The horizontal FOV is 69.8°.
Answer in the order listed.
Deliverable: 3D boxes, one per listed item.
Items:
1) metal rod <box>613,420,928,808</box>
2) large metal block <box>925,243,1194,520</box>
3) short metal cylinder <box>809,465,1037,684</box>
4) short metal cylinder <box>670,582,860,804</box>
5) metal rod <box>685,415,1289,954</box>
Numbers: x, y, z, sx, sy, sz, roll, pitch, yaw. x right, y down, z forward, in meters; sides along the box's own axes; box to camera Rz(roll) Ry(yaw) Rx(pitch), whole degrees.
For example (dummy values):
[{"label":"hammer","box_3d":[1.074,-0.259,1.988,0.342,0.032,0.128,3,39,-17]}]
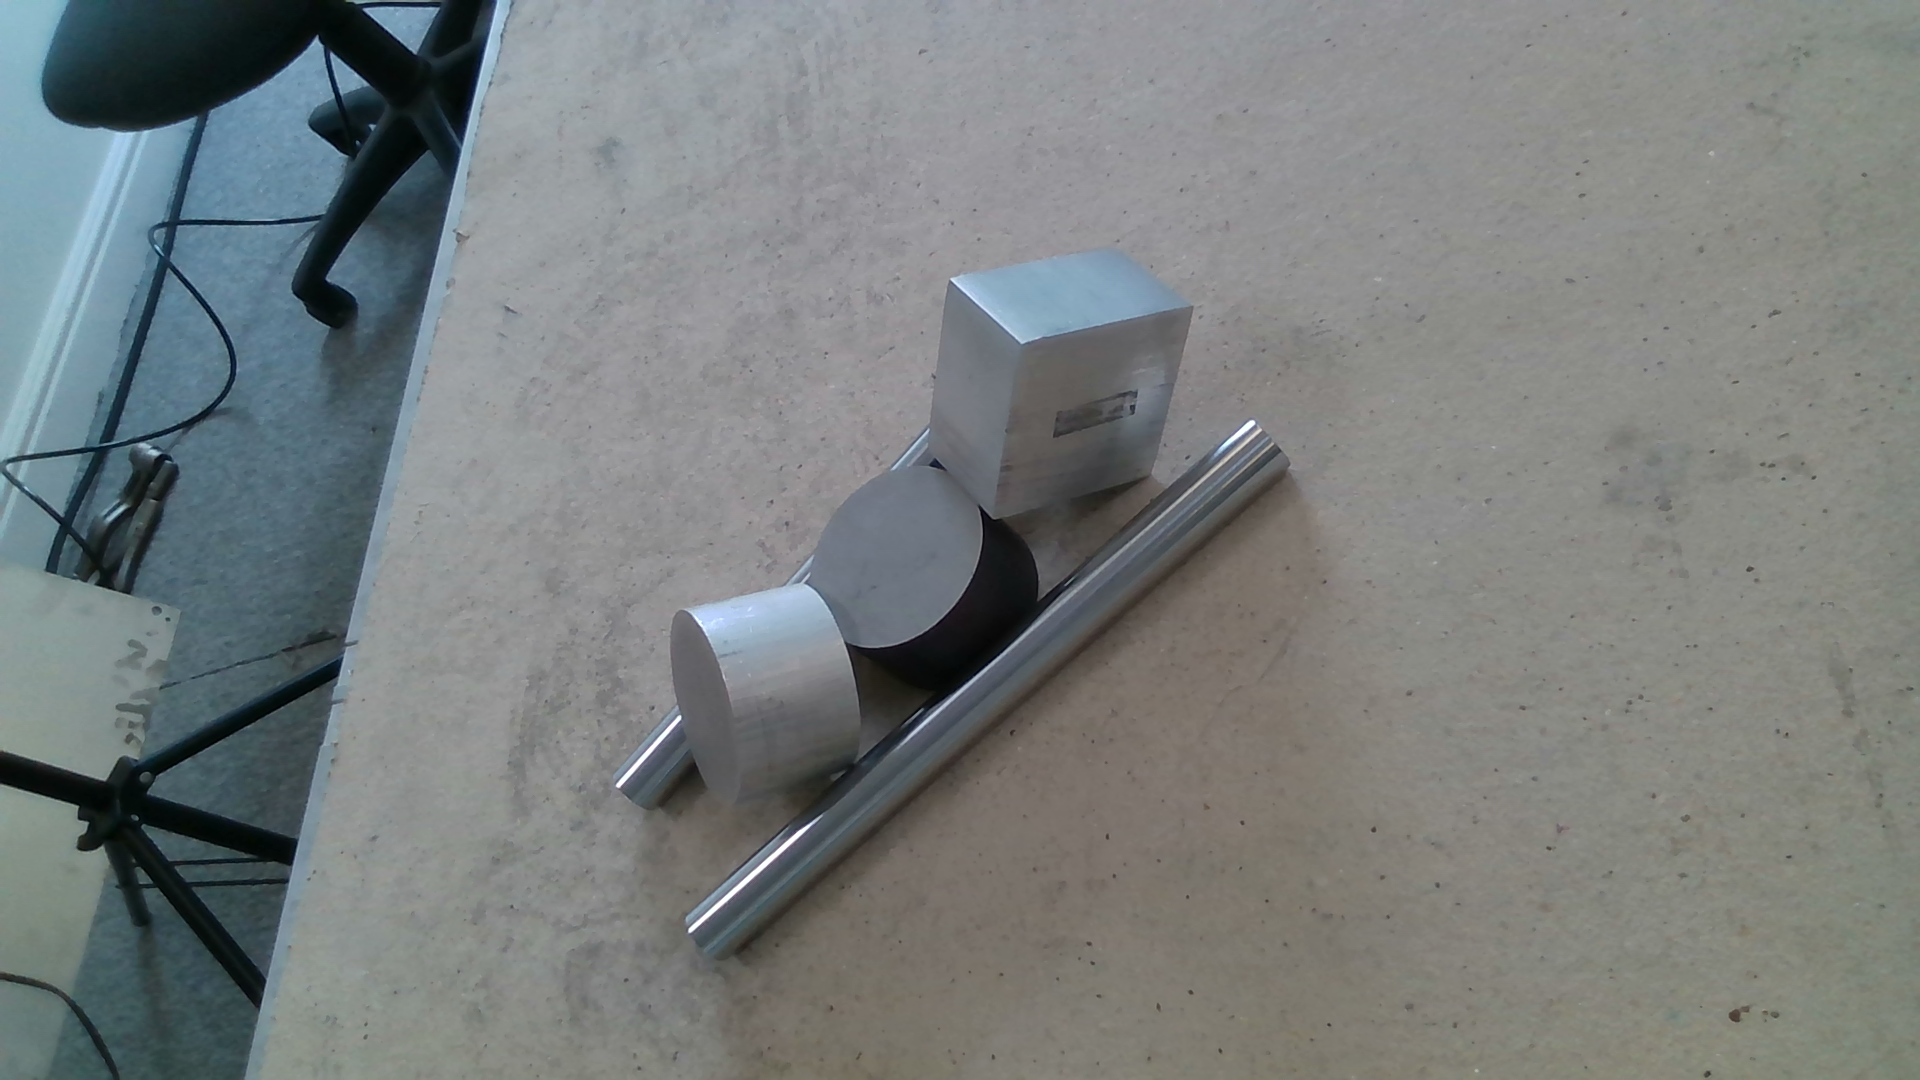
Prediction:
[{"label":"metal rod","box_3d":[-0.045,0.000,0.614,0.300,0.025,0.025,-48,51,1]},{"label":"large metal block","box_3d":[0.037,-0.063,0.541,0.080,0.080,0.050,-17,45,-28]},{"label":"short metal cylinder","box_3d":[-0.015,0.016,0.571,0.080,0.050,0.080,-14,59,25]},{"label":"short metal cylinder","box_3d":[-0.081,0.061,0.560,0.050,0.080,0.080,-13,46,-26]},{"label":"metal rod","box_3d":[0.007,0.060,0.549,0.300,0.025,0.025,-42,51,6]}]
